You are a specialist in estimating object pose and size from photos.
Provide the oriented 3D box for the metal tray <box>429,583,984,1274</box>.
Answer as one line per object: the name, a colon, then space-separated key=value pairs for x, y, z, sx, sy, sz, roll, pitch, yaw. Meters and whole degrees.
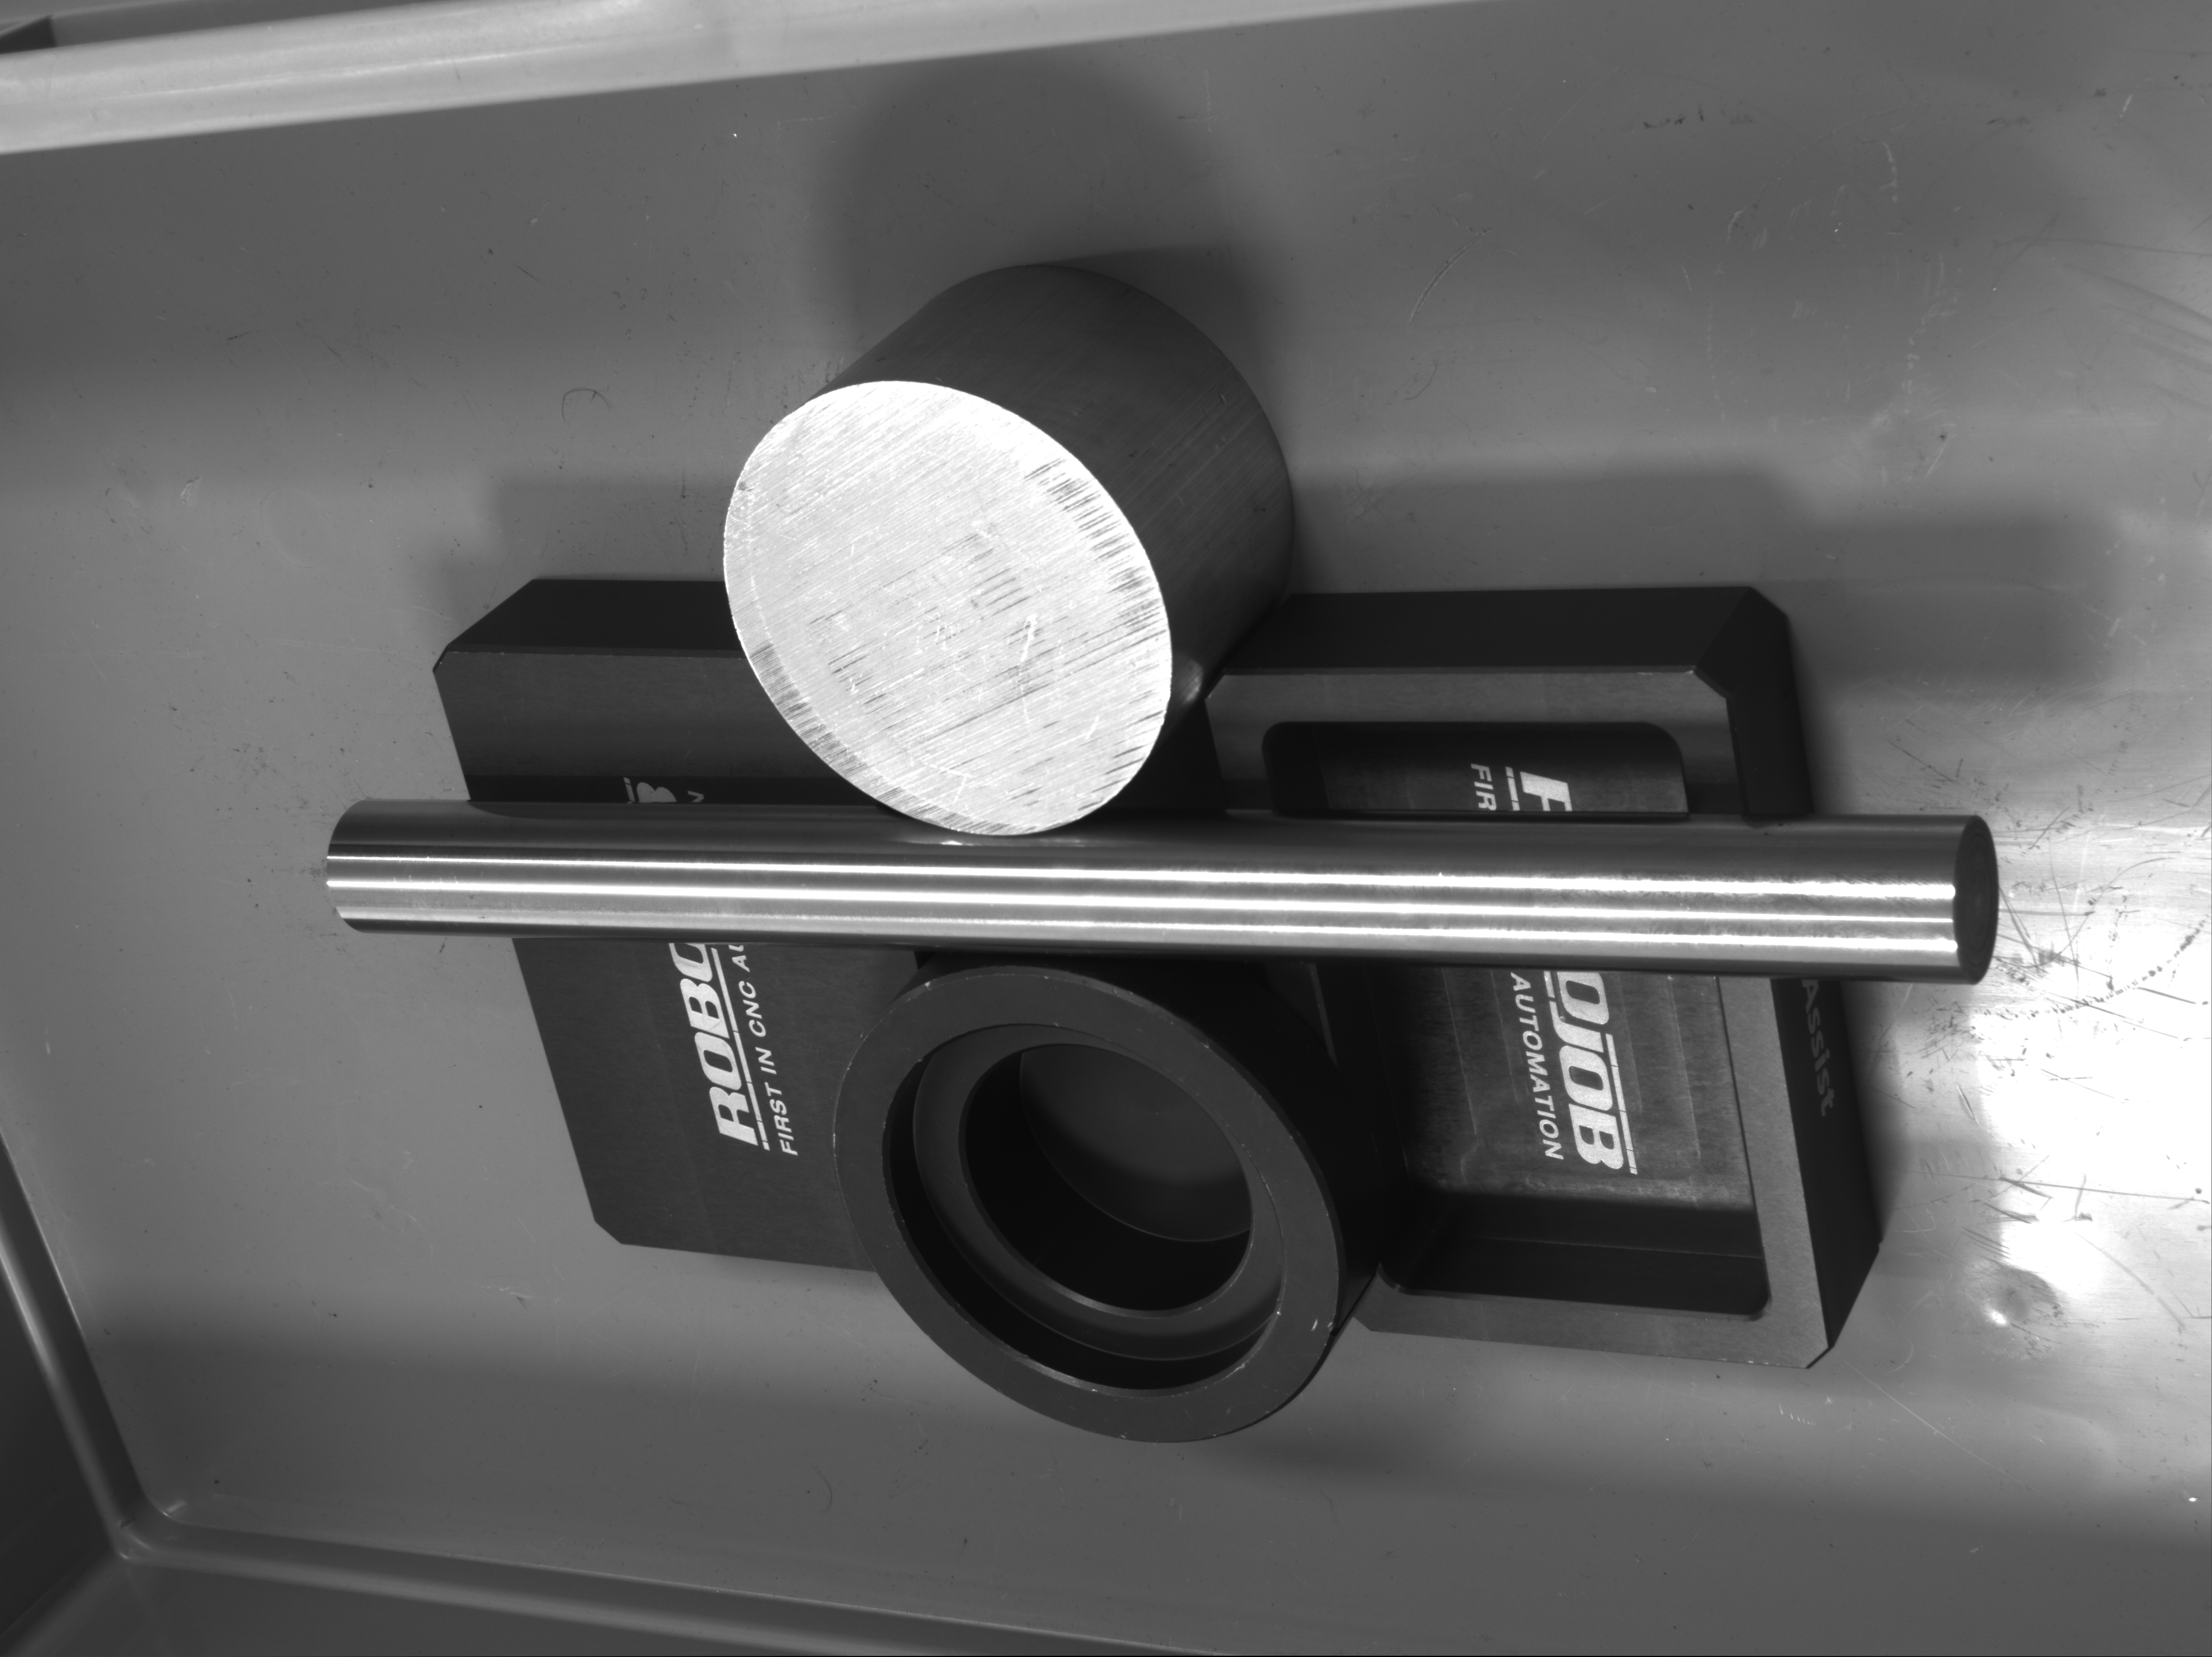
metal tray: x=-0.066 y=0.020 z=0.684 sx=0.090 sy=0.030 sz=0.130 roll=3 pitch=120 yaw=27

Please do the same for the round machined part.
round machined part: x=0.004 y=0.057 z=0.651 sx=0.098 sy=0.042 sz=0.098 roll=13 pitch=124 yaw=21

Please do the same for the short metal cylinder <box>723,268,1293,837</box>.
short metal cylinder: x=-0.016 y=-0.046 z=0.605 sx=0.080 sy=0.050 sz=0.080 roll=13 pitch=124 yaw=21

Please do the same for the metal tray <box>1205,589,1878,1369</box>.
metal tray: x=0.074 y=0.026 z=0.613 sx=0.090 sy=0.030 sz=0.130 roll=1 pitch=119 yaw=28

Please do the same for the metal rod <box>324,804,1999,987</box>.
metal rod: x=-0.004 y=0.009 z=0.610 sx=0.299 sy=0.025 sz=0.025 roll=1 pitch=119 yaw=28
